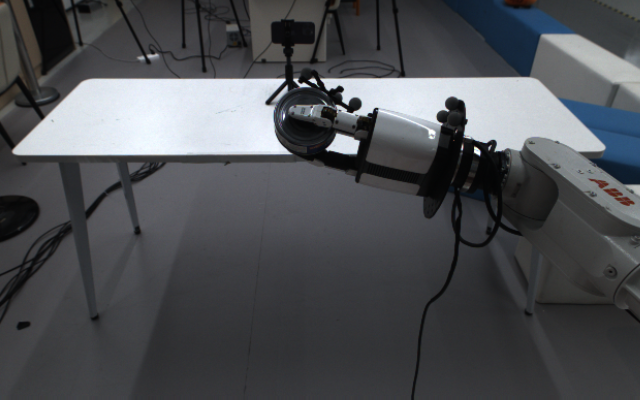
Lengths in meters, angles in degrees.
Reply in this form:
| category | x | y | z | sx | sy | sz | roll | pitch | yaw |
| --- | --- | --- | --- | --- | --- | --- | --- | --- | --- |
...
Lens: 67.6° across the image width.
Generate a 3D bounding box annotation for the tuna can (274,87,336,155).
| category | x | y | z | sx | sy | sz | roll | pitch | yaw |
| --- | --- | --- | --- | --- | --- | --- | --- | --- | --- |
| tuna can | -0.017 | -0.106 | 0.642 | 0.085 | 0.034 | 0.085 | 0 | 74 | -1 |
